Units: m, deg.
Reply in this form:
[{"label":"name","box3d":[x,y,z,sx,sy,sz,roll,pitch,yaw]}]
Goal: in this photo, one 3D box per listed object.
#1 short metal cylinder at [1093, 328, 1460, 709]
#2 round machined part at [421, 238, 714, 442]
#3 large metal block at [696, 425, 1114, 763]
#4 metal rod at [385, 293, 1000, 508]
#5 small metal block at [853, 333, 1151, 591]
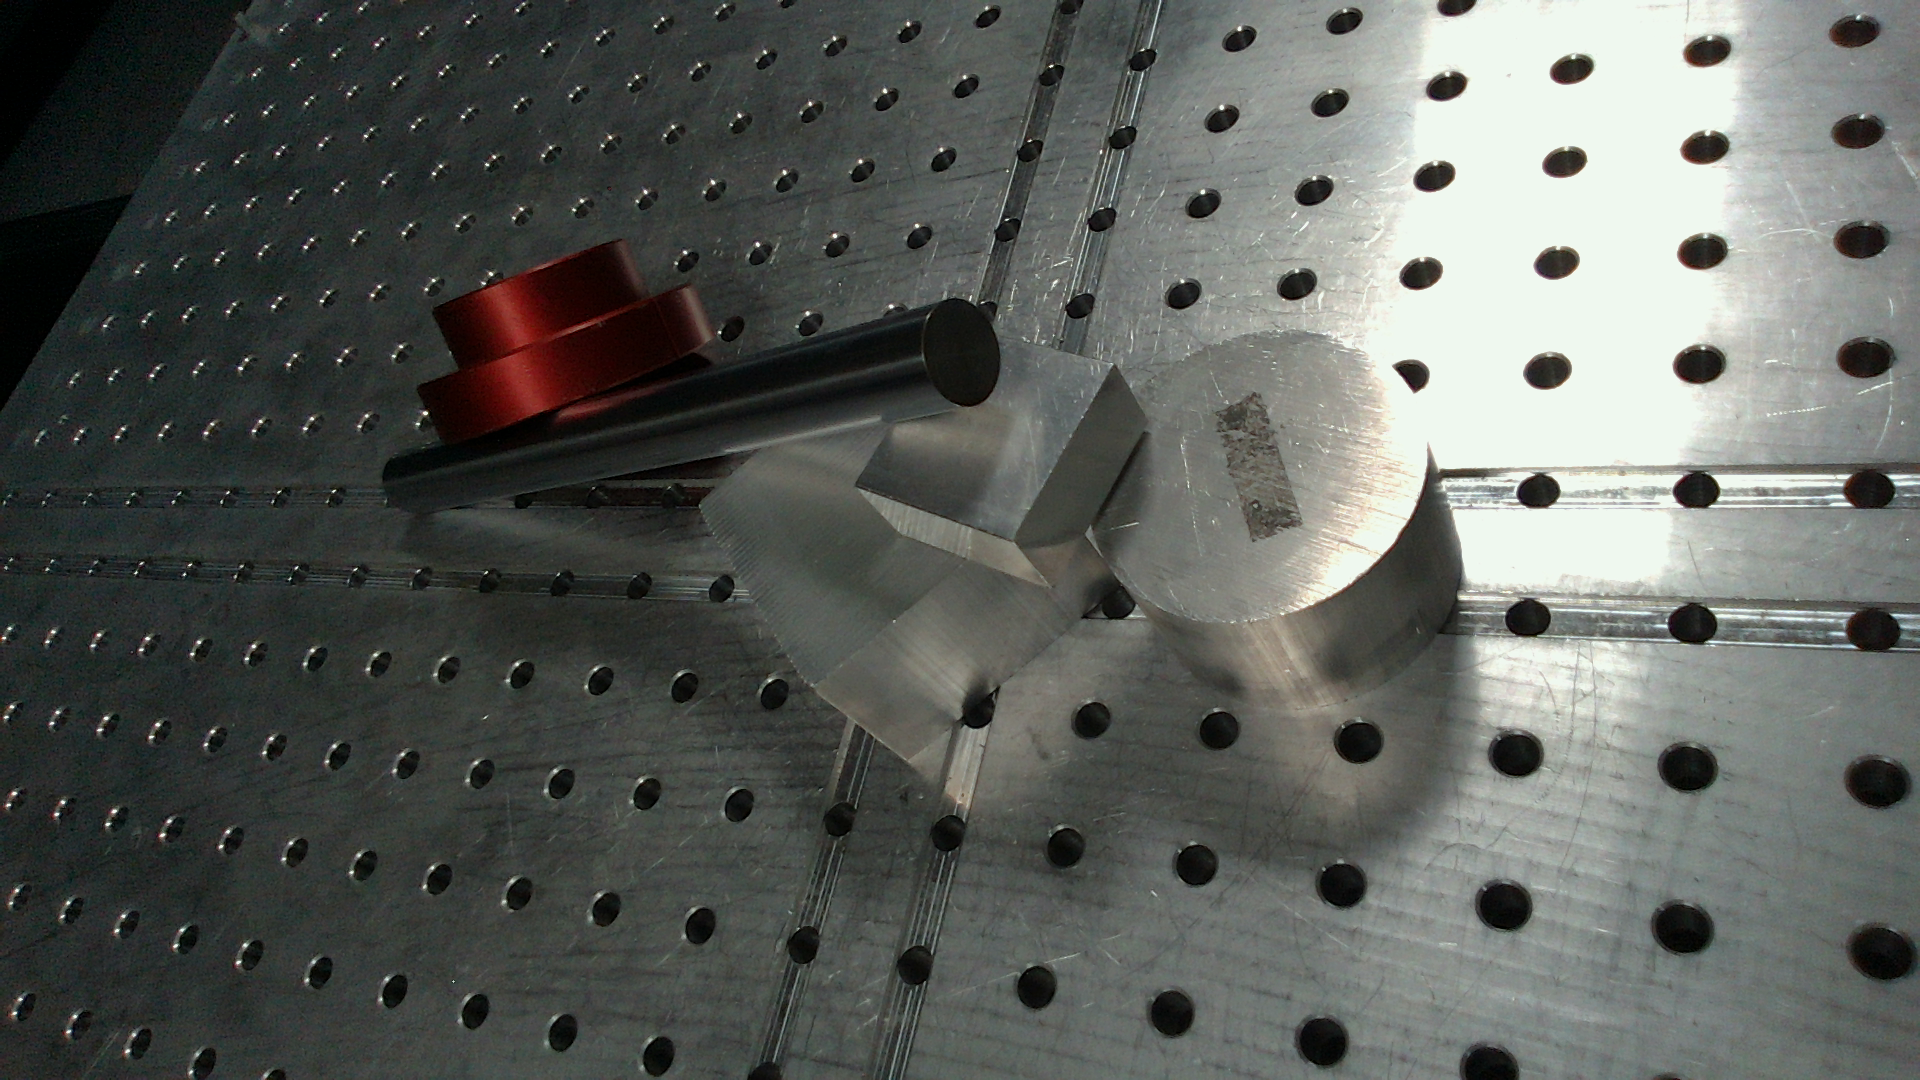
[{"label":"short metal cylinder","box3d":[0.079,-0.005,0.341,0.080,0.050,0.080,-14,56,21]},{"label":"round machined part","box3d":[-0.138,-0.071,0.470,0.098,0.042,0.098,-20,14,6]},{"label":"large metal block","box3d":[-0.015,0.000,0.386,0.080,0.050,0.080,-40,51,2]},{"label":"metal rod","box3d":[-0.103,-0.033,0.417,0.299,0.025,0.025,-5,58,46]},{"label":"small metal block","box3d":[0.010,-0.022,0.337,0.050,0.025,0.050,20,72,36]}]
